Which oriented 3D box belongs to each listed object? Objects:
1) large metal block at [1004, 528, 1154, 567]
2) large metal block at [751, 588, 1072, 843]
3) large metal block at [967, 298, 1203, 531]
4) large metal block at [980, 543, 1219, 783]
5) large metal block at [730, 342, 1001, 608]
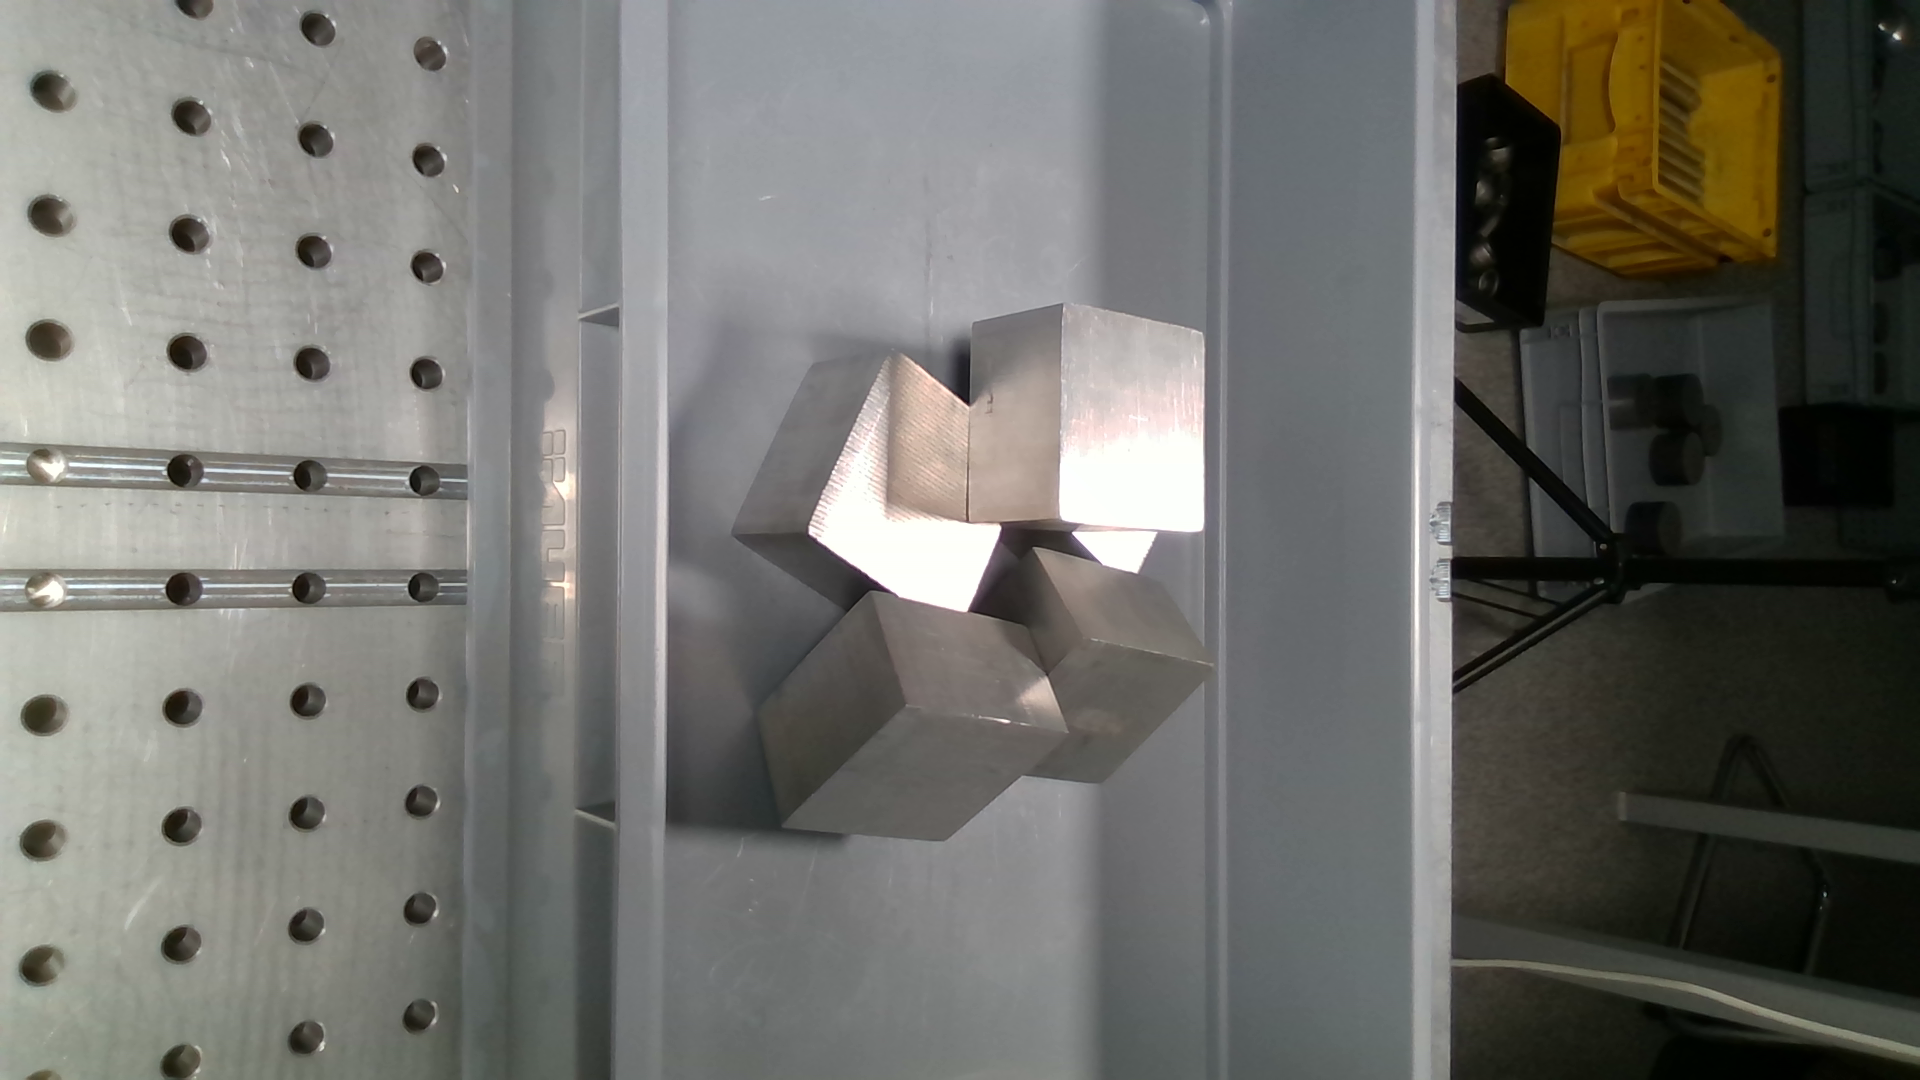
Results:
[{"bbox_3d":[0.050,-0.035,0.608,0.080,0.050,0.080,44,64,-32],"label":"large metal block"},{"bbox_3d":[-0.019,0.069,0.521,0.080,0.080,0.050,15,41,-39],"label":"large metal block"},{"bbox_3d":[0.050,-0.045,0.540,0.080,0.050,0.080,3,87,-41],"label":"large metal block"},{"bbox_3d":[0.045,0.054,0.576,0.080,0.050,0.080,15,126,-39],"label":"large metal block"},{"bbox_3d":[-0.029,-0.018,0.537,0.080,0.050,0.080,37,67,-34],"label":"large metal block"}]
